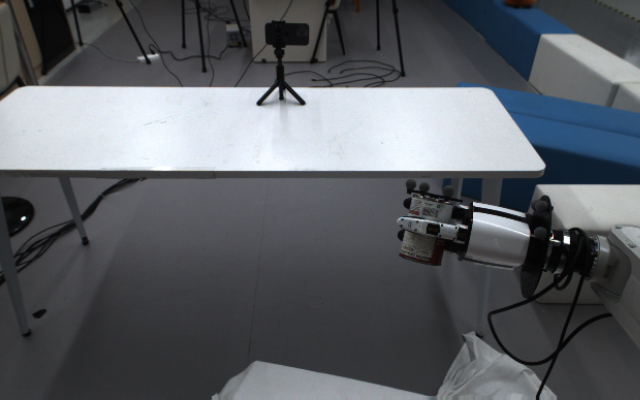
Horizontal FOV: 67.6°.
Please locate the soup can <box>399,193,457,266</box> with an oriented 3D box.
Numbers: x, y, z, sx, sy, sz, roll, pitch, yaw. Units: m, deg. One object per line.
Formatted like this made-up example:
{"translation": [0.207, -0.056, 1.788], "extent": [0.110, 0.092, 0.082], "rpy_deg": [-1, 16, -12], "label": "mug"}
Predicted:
{"translation": [0.170, 0.047, 0.769], "extent": [0.067, 0.101, 0.067], "rpy_deg": [12, 2, 0], "label": "soup can"}
